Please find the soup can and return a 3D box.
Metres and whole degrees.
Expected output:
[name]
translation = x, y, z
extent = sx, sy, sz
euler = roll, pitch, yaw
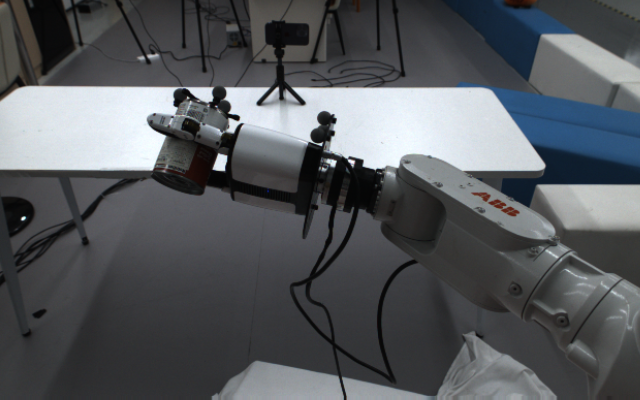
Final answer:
[soup can]
translation = -0.160, -0.064, 0.606
extent = 0.067, 0.067, 0.101
euler = 11, 72, 13
